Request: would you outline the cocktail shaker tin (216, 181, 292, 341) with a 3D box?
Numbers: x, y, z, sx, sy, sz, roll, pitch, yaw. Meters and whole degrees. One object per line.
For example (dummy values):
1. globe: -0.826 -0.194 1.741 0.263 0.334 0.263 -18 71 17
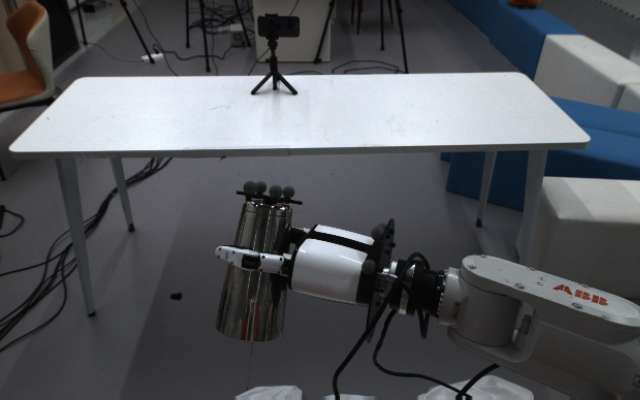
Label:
1. cocktail shaker tin: -0.080 0.089 0.645 0.093 0.170 0.093 9 3 0
